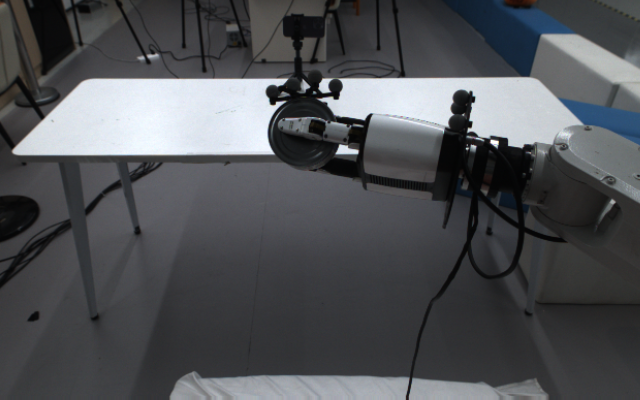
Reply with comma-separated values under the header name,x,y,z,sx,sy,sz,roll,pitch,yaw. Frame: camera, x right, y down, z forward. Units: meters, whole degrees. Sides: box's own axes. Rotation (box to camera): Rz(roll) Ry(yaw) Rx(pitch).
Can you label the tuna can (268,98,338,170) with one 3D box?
name,x,y,z,sx,sy,sz,roll,pitch,yaw
tuna can,-0.016,-0.076,0.592,0.085,0.085,0.034,10,-6,11
